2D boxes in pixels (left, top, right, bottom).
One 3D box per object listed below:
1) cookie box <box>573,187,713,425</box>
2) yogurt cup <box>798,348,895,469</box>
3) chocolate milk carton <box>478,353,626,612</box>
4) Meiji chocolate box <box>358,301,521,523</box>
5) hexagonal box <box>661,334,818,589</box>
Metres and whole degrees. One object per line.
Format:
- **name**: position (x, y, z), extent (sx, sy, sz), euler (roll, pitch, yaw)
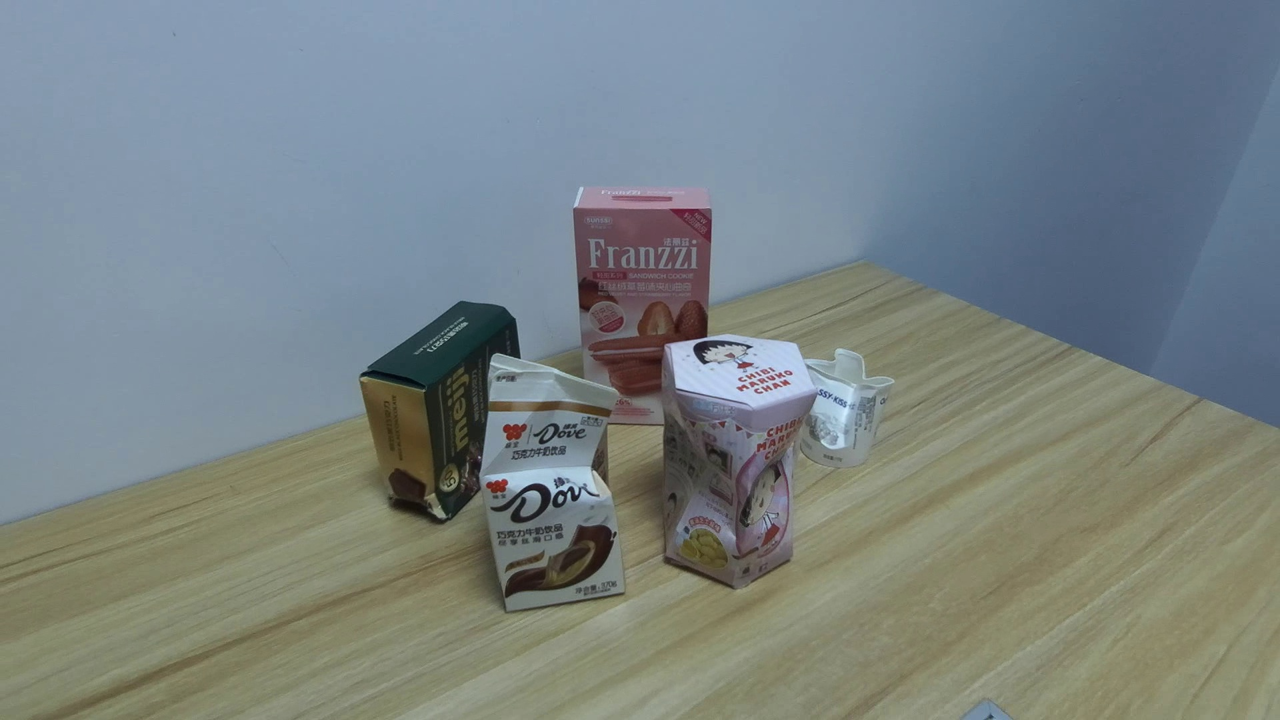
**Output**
- **cookie box**: position (0.004, -0.036, 0.540), extent (0.096, 0.185, 0.048), euler (1, 31, 3)
- **yogurt cup**: position (0.151, 0.036, 0.526), extent (0.055, 0.072, 0.054), euler (-13, 35, -25)
- **chocolate milk carton**: position (-0.051, 0.062, 0.406), extent (0.076, 0.156, 0.073), euler (-5, 33, -9)
- **Meiji chocolate box**: position (-0.132, 0.032, 0.499), extent (0.058, 0.116, 0.123), euler (12, 32, 20)
- **hexagonal box**: position (0.053, 0.061, 0.424), extent (0.093, 0.135, 0.089), euler (12, 32, 19)
